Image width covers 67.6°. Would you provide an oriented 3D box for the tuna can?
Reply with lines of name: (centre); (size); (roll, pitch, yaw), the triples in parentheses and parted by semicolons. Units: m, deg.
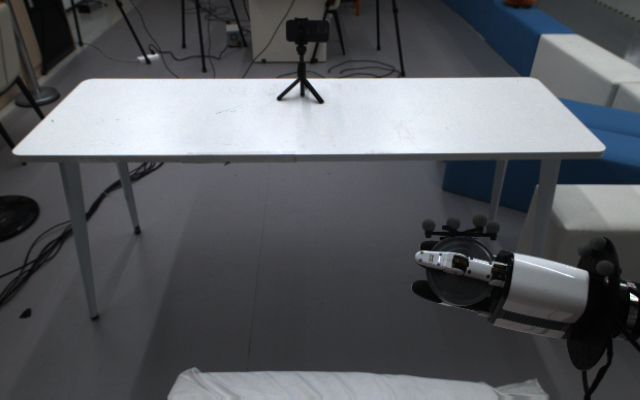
tuna can: (0.180, 0.087, 0.610); (0.085, 0.034, 0.085); (-4, 72, 12)
